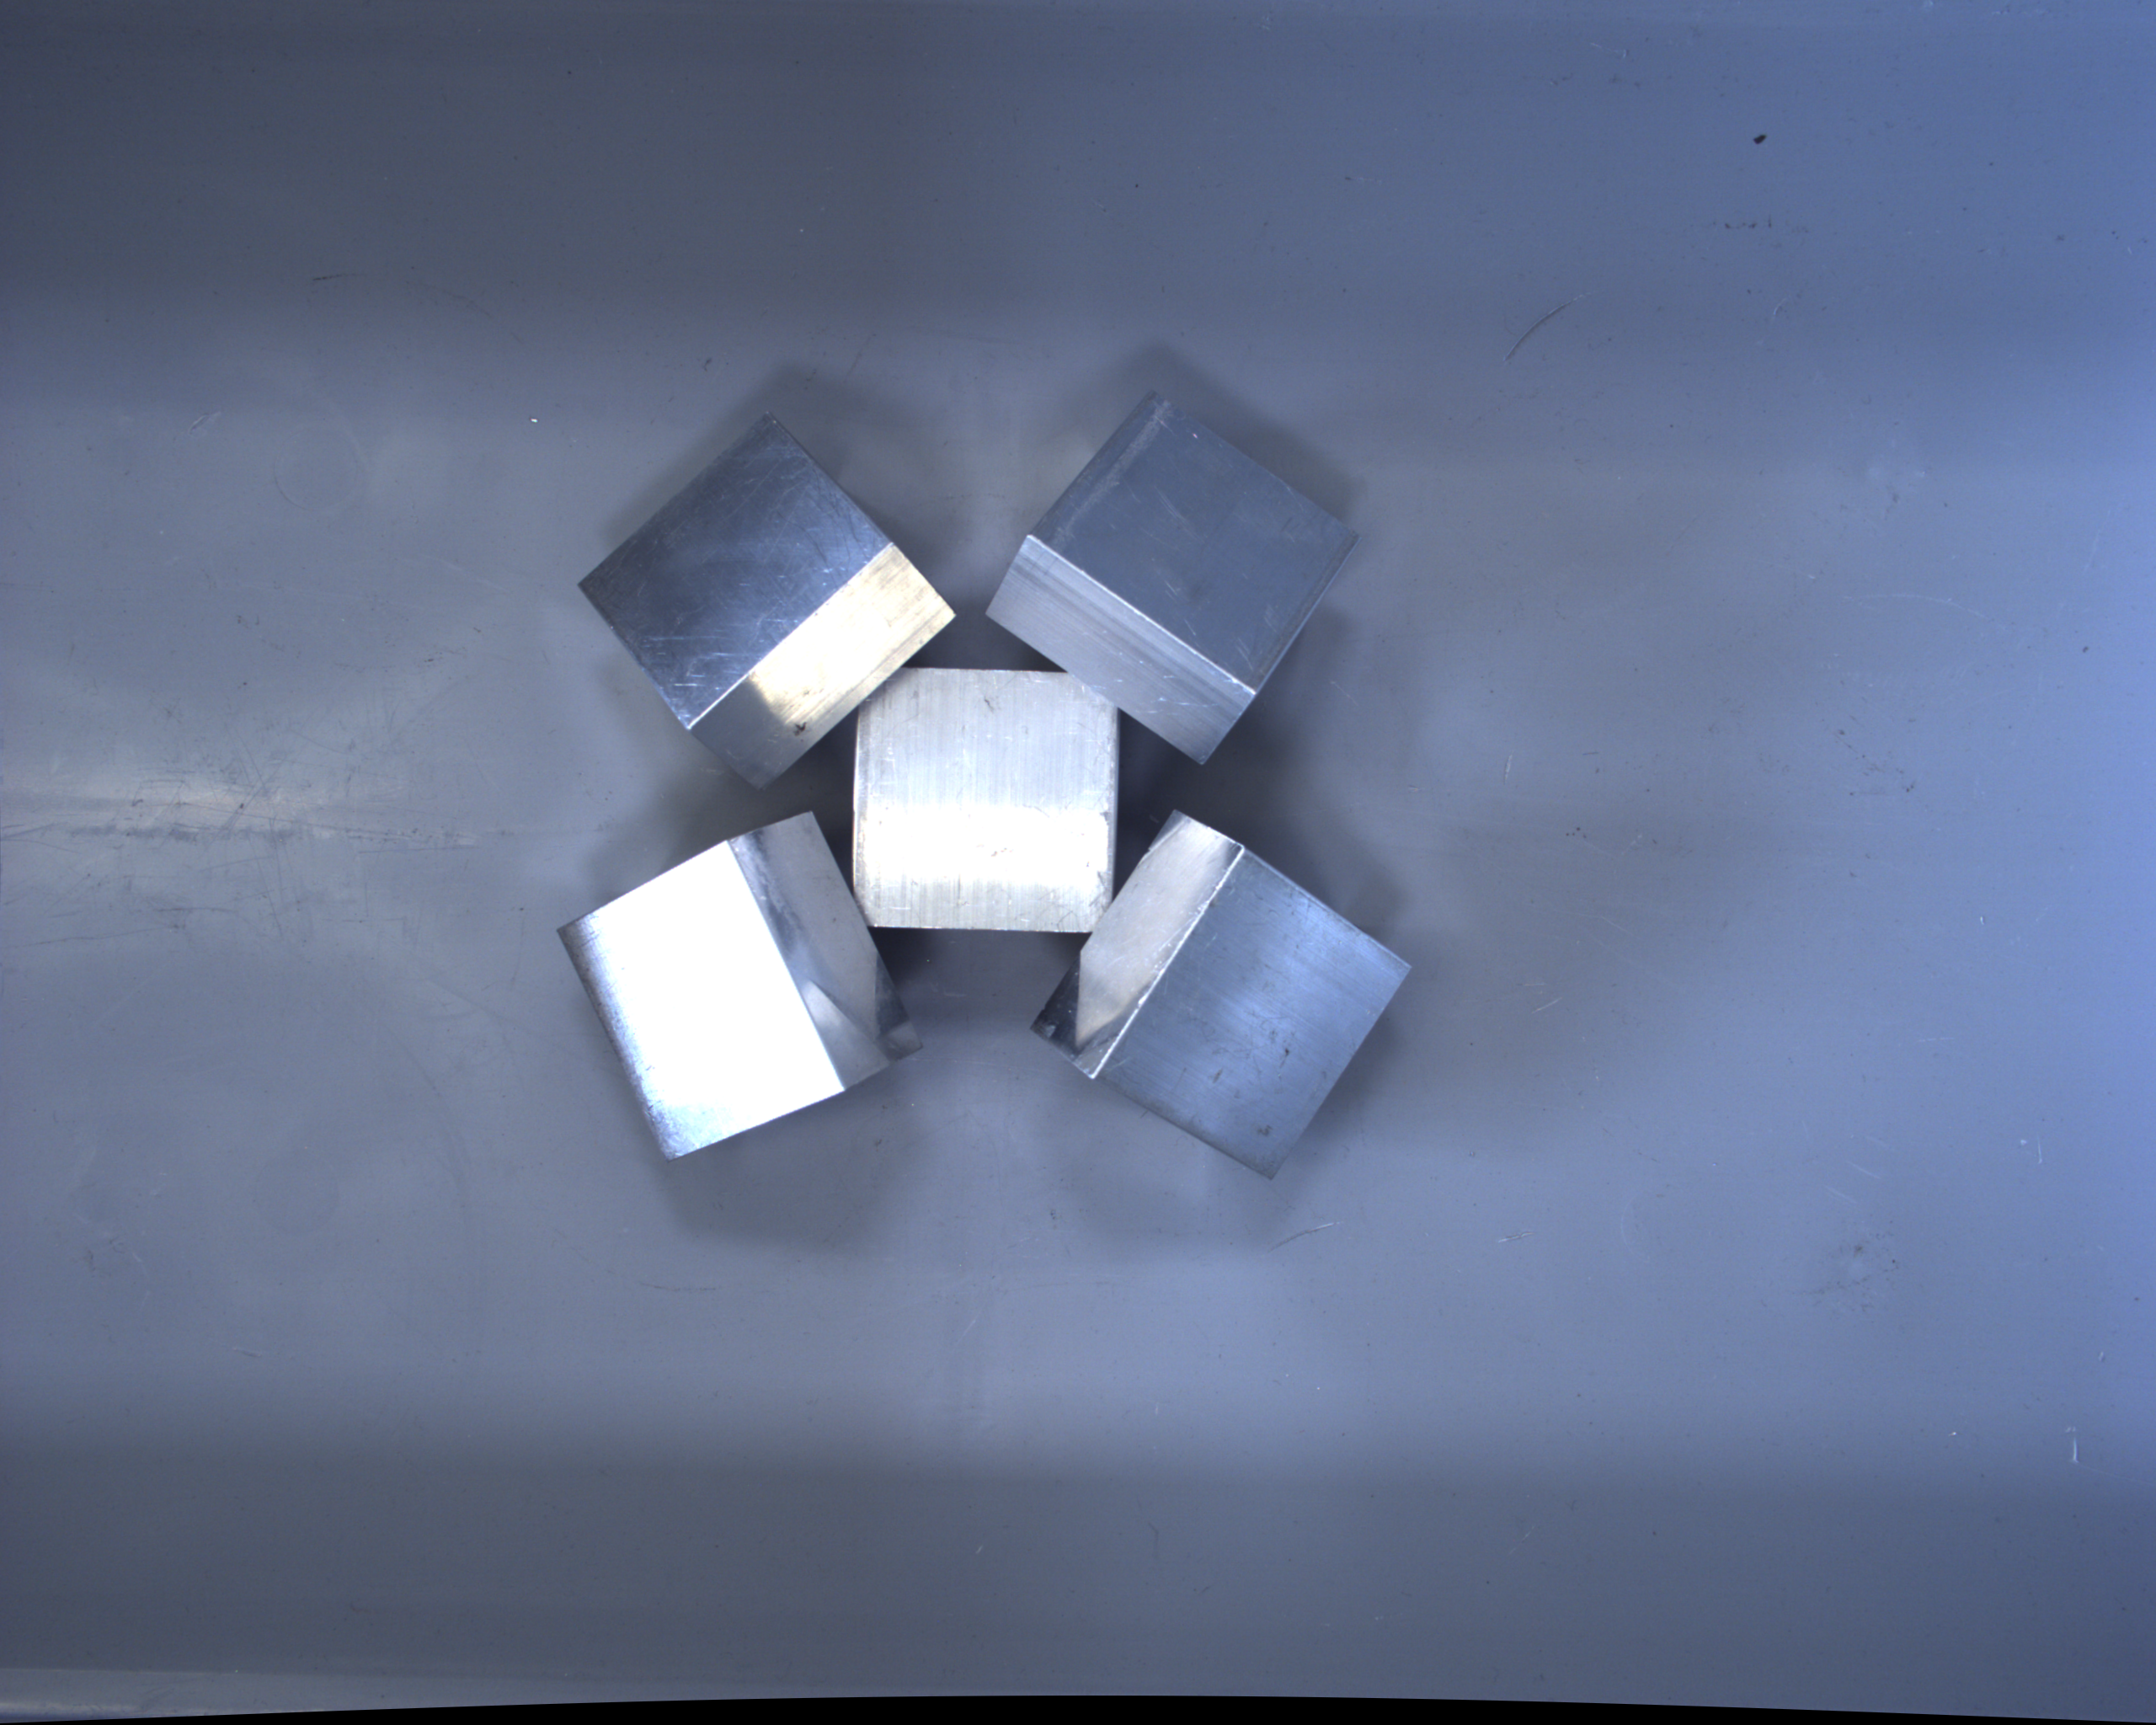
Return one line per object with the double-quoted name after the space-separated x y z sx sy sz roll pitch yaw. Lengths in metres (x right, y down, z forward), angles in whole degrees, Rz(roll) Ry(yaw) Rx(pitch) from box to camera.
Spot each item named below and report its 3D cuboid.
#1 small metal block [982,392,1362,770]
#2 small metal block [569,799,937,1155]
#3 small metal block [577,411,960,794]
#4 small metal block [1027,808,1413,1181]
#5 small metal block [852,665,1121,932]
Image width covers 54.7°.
0.018 -0.054 0.397 0.050 0.025 0.050 35 53 -1 "small metal block"
-0.062 0.022 0.397 0.050 0.025 0.050 -26 90 37 "small metal block"
-0.059 -0.050 0.396 0.050 0.025 0.050 -42 53 0 "small metal block"
0.027 0.026 0.398 0.050 0.025 0.050 34 90 -35 "small metal block"
-0.017 -0.012 0.409 0.050 0.025 0.050 2 90 0 "small metal block"
